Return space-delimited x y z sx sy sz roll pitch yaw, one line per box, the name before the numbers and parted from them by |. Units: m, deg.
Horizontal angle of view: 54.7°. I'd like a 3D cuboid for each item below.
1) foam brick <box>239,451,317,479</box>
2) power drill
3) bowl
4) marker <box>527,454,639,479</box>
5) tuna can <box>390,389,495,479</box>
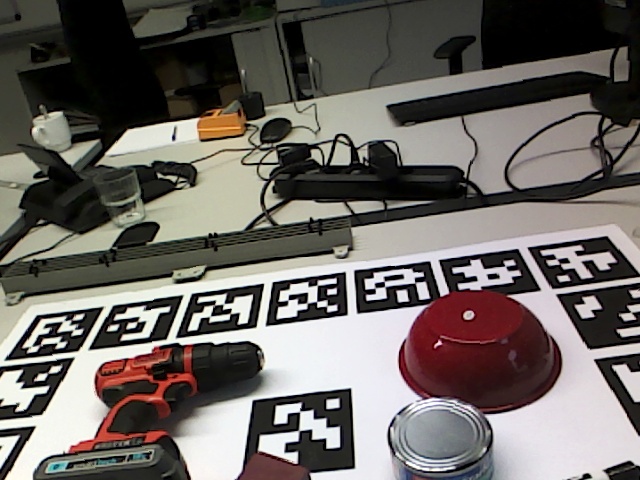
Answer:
foam brick | -0.040 0.215 0.480 0.051 0.052 0.078 5 32 25
power drill | -0.154 0.175 0.588 0.184 0.057 0.187 -6 25 2
bowl | 0.153 0.101 0.633 0.162 0.055 0.162 -12 20 4
marker | 0.189 0.185 0.471 0.121 0.019 0.020 -12 28 -4
tuna can | 0.104 0.168 0.523 0.086 0.033 0.086 -7 27 3
